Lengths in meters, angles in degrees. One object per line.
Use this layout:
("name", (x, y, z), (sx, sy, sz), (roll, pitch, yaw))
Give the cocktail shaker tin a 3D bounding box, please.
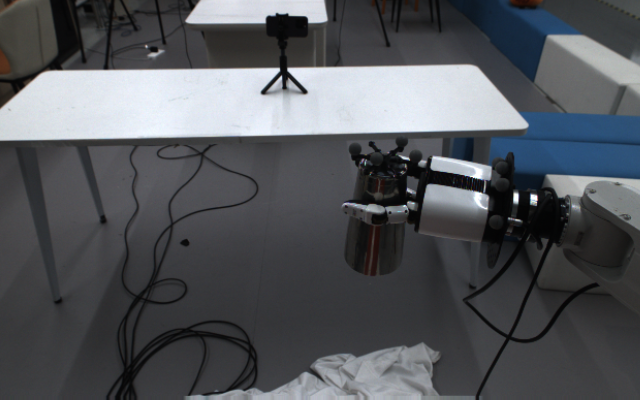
("cocktail shaker tin", (0.088, 0.015, 0.707), (0.093, 0.170, 0.093), (1, 39, -1))
